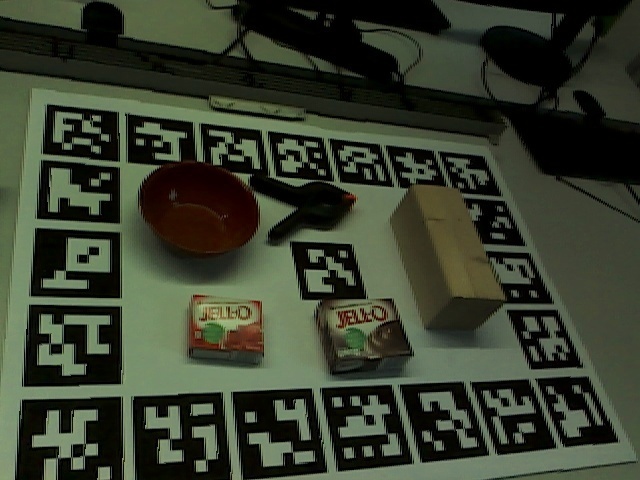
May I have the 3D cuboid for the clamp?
[{"bbox_3d":[-0.013,-0.062,0.973,0.164,0.036,0.122,-5,55,-30],"label":"clamp"}]

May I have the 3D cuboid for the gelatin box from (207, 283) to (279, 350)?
[{"bbox_3d":[-0.097,0.098,0.795,0.089,0.030,0.073,10,51,-17],"label":"gelatin box"}]

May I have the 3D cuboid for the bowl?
[{"bbox_3d":[-0.151,-0.043,0.881,0.161,0.055,0.162,12,51,-16],"label":"bowl"}]

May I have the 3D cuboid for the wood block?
[{"bbox_3d":[0.211,0.015,0.960,0.089,0.091,0.207,6,51,-21],"label":"wood block"}]

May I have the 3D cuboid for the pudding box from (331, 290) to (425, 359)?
[{"bbox_3d":[0.078,0.116,0.854,0.113,0.038,0.090,1,56,-20],"label":"pudding box"}]
